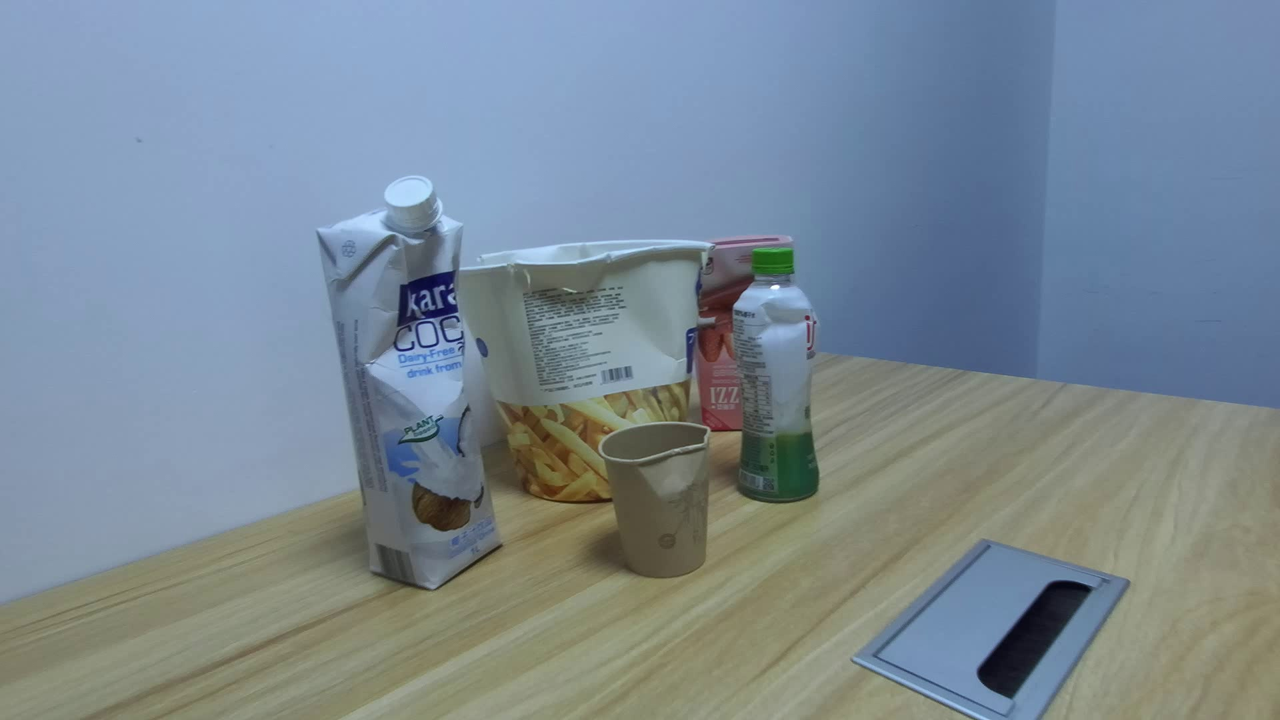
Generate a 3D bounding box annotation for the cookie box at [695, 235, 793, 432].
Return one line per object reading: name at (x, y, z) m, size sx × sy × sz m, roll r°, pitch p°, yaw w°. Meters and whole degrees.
cookie box at (0.101, -0.026, 0.698) m, size 0.105 × 0.187 × 0.049 m, roll -6°, pitch 14°, yaw 6°

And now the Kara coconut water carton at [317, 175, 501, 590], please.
Kara coconut water carton at (-0.149, 0.016, 0.458) m, size 0.078 × 0.255 × 0.083 m, roll 10°, pitch 19°, yaw 42°

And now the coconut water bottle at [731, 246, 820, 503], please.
coconut water bottle at (0.104, 0.010, 0.537) m, size 0.069 × 0.186 × 0.069 m, roll -2°, pitch 11°, yaw 1°

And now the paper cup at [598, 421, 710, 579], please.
paper cup at (0.012, 0.090, 0.456) m, size 0.068 × 0.081 × 0.073 m, roll -3°, pitch 13°, yaw 12°

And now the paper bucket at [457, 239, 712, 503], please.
paper bucket at (-0.045, 0.002, 0.607) m, size 0.203 × 0.197 × 0.145 m, roll -13°, pitch 14°, yaw -29°
